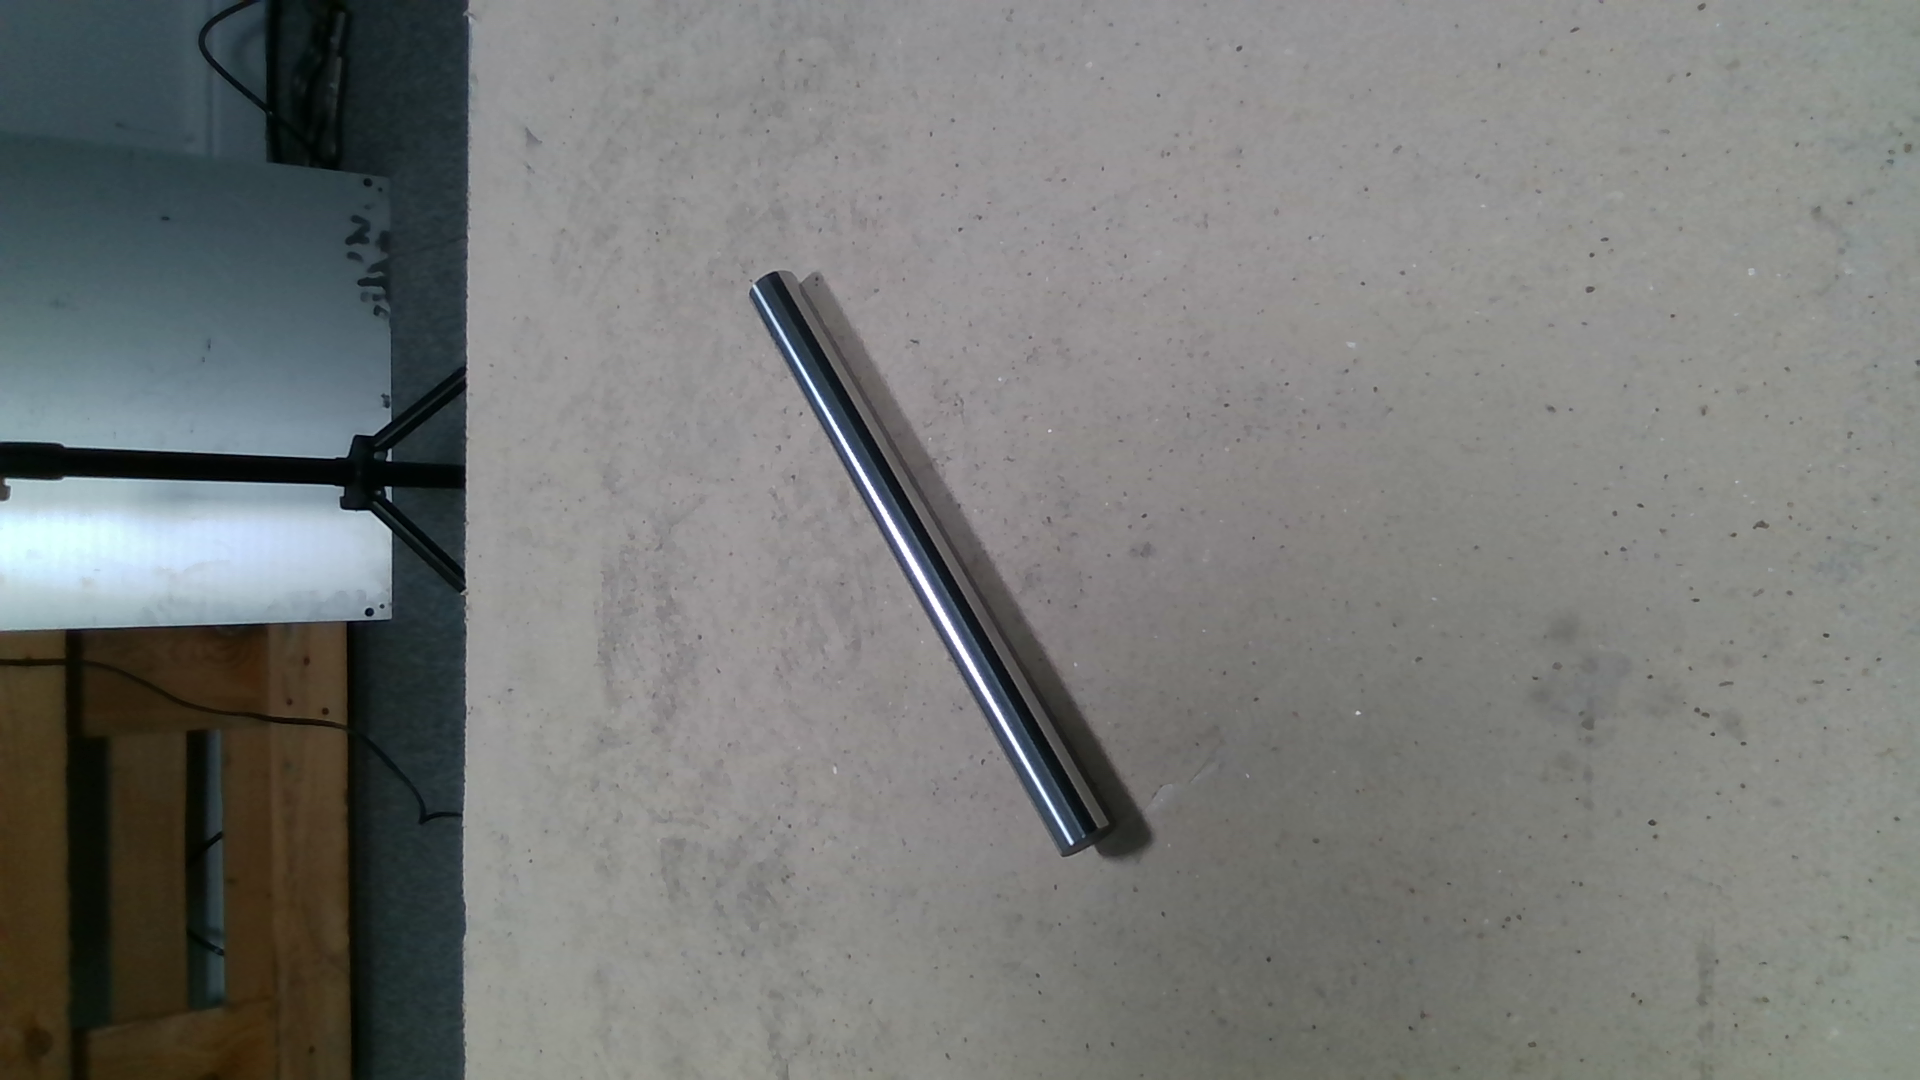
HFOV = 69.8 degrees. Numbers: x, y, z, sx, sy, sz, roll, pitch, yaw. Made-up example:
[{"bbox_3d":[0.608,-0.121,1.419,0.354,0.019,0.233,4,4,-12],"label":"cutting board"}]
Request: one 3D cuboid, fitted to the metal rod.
[{"bbox_3d":[-0.019,-0.001,0.599,0.025,0.025,0.299,-45,63,31],"label":"metal rod"}]
